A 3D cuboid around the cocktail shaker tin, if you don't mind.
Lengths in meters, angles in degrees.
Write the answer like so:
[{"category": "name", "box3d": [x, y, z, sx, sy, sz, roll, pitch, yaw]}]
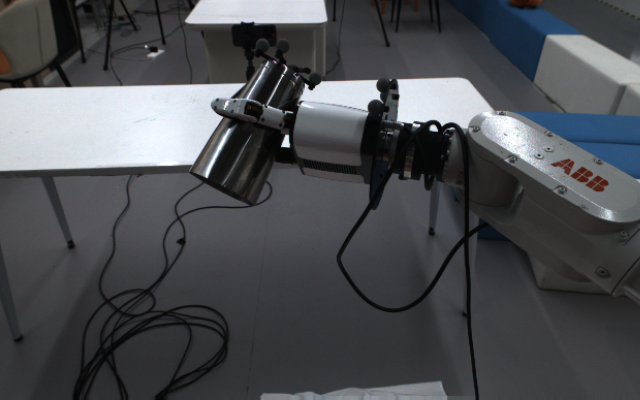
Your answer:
[{"category": "cocktail shaker tin", "box3d": [-0.084, -0.092, 0.618, 0.093, 0.093, 0.170, 21, 81, 26]}]
